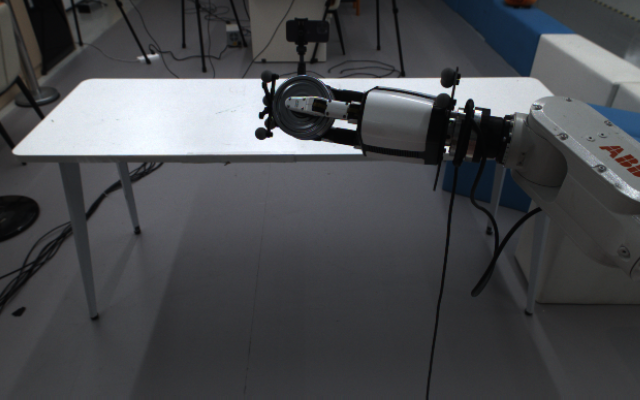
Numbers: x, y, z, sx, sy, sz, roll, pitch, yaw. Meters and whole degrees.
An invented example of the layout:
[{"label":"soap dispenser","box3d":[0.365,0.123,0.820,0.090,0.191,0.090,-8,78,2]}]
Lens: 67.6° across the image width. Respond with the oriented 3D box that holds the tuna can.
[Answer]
[{"label":"tuna can","box3d":[-0.019,-0.127,0.664,0.085,0.085,0.034,10,2,12]}]
